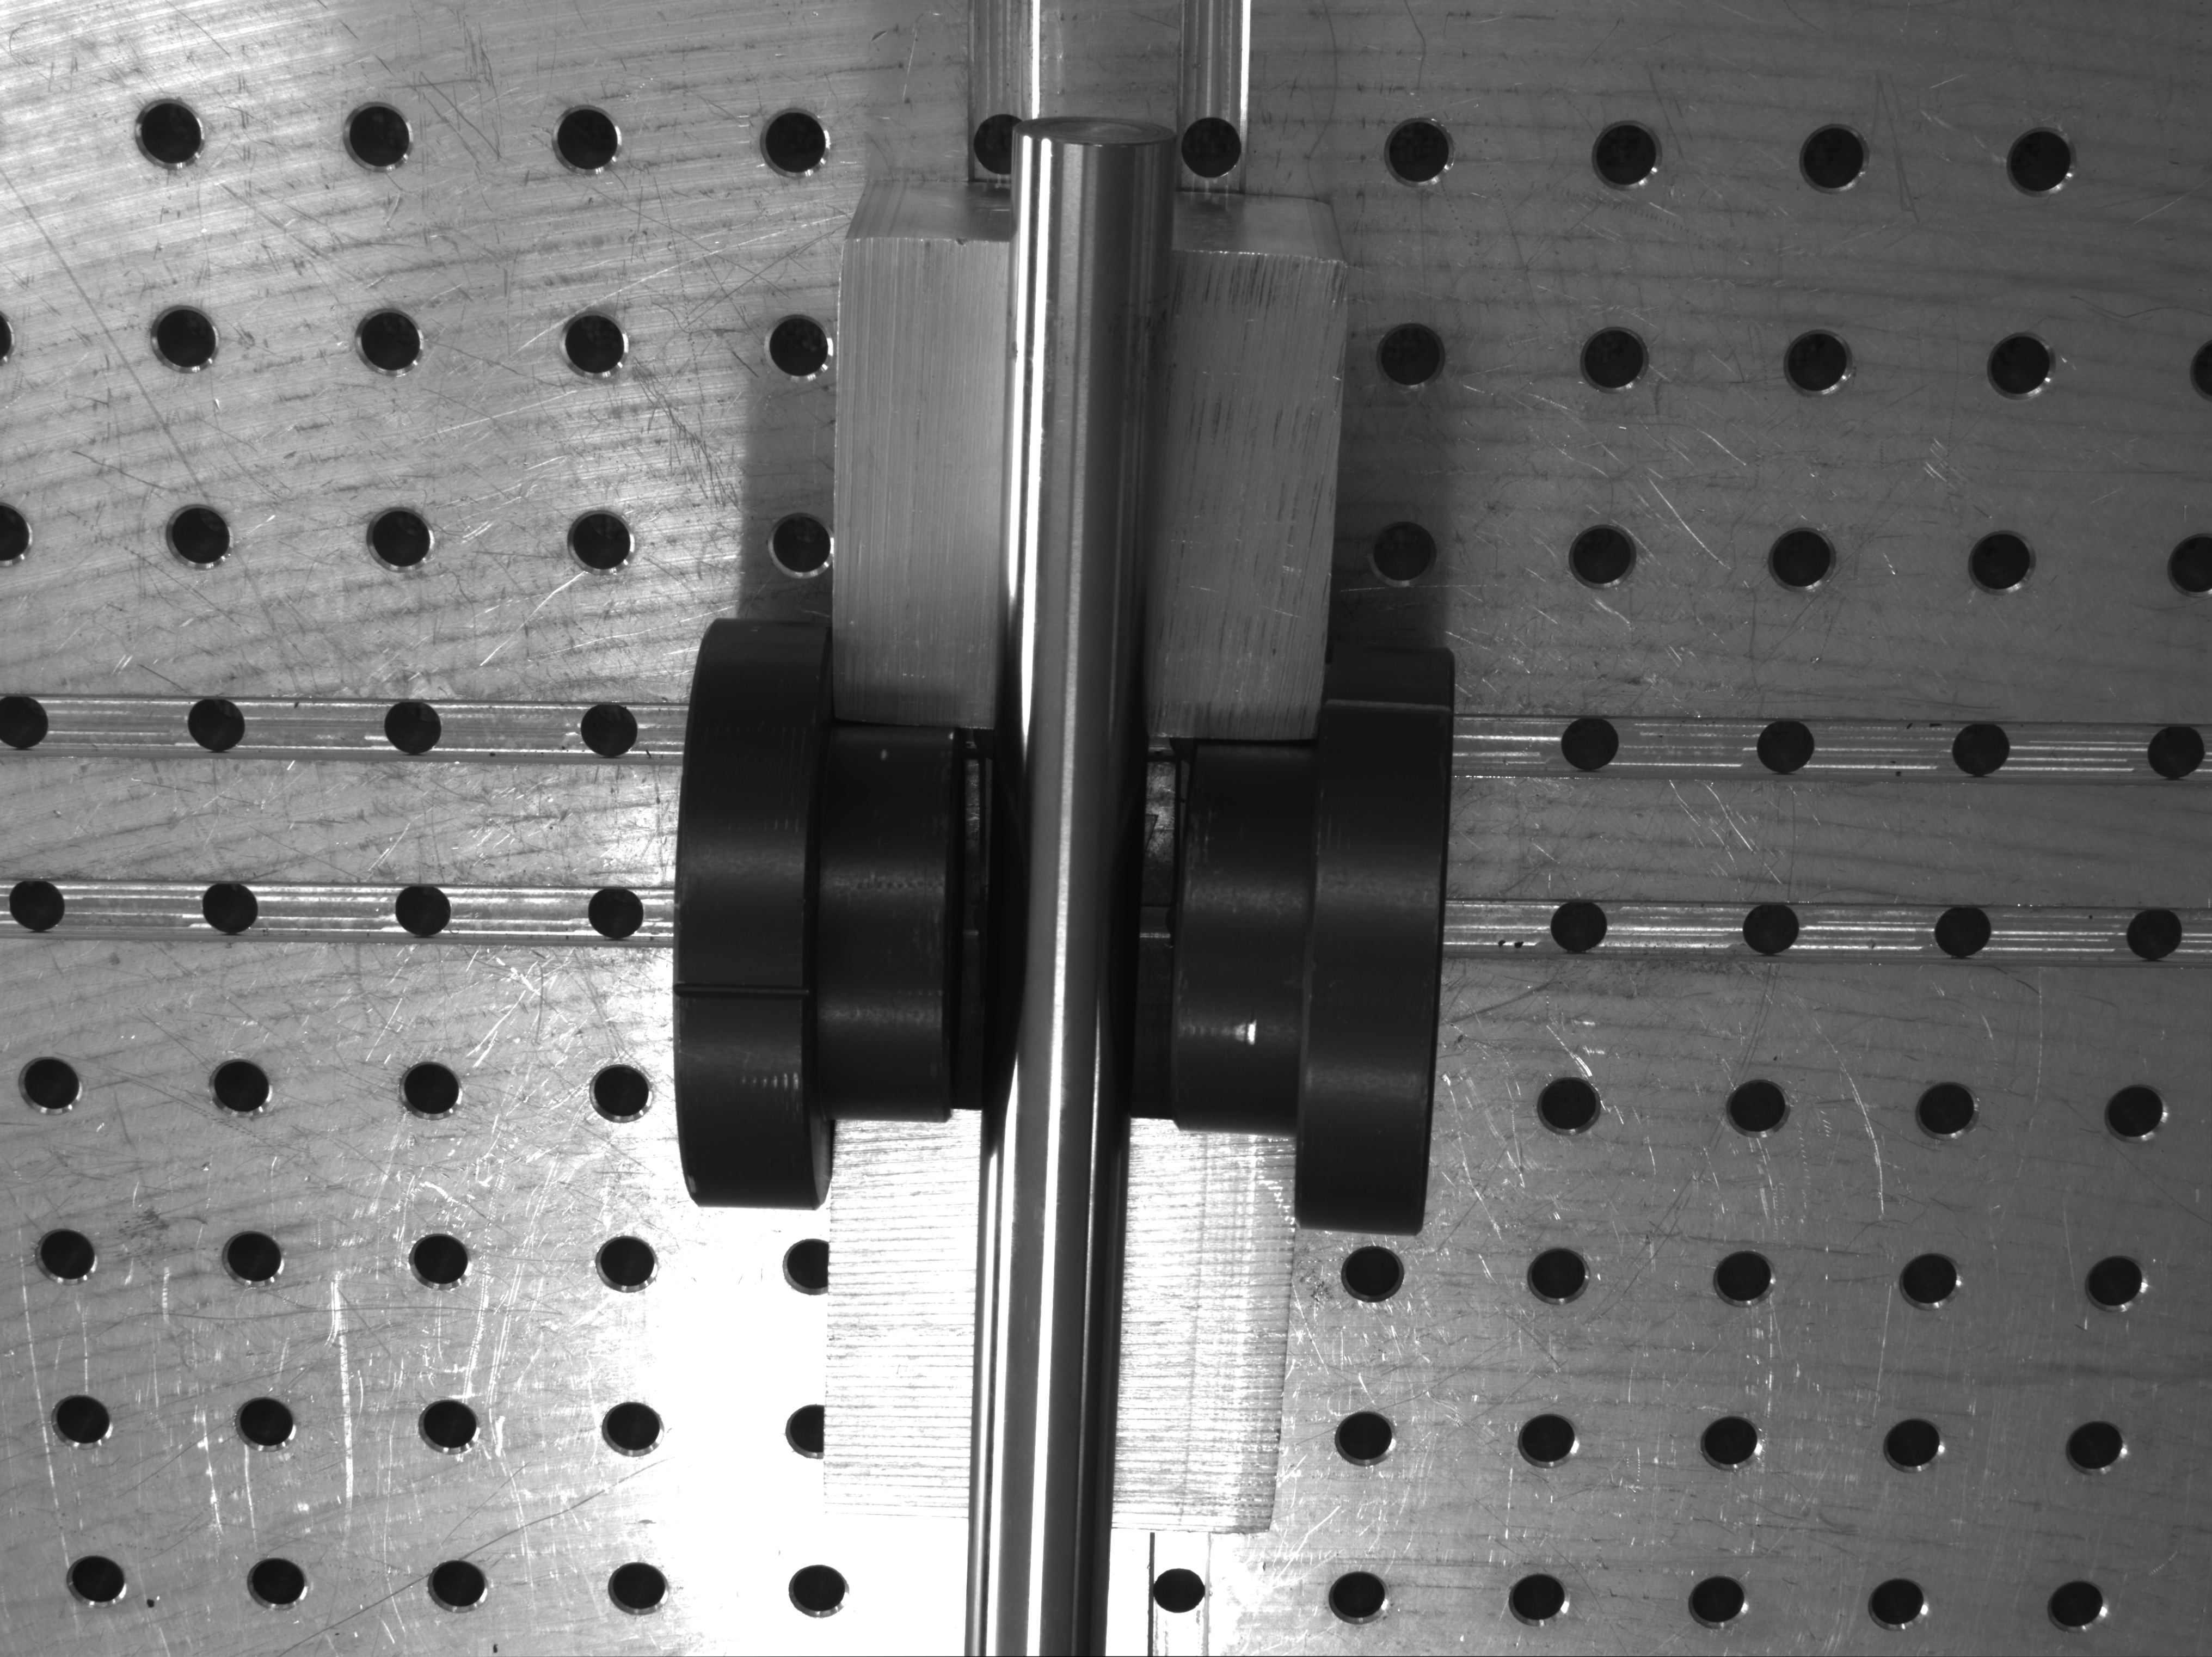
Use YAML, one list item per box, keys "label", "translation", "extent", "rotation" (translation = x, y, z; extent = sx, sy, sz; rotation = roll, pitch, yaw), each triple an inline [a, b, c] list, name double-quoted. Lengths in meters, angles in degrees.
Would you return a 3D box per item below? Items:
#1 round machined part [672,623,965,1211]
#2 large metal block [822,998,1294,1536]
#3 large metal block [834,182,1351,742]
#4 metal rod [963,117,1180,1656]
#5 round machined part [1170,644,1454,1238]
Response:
- label: "round machined part"
  translation: [-0.046, 0.015, 0.613]
  extent: [0.042, 0.098, 0.098]
  rotation: [2, 110, 0]
- label: "large metal block"
  translation: [-0.008, 0.078, 0.661]
  extent: [0.080, 0.050, 0.080]
  rotation: [3, 110, -1]
- label: "large metal block"
  translation: [-0.003, -0.062, 0.611]
  extent: [0.080, 0.050, 0.080]
  rotation: [2, 110, -1]
- label: "metal rod"
  translation: [-0.008, 0.035, 0.606]
  extent: [0.025, 0.025, 0.300]
  rotation: [2, 110, -1]
- label: "round machined part"
  translation: [0.034, 0.018, 0.614]
  extent: [0.042, 0.098, 0.098]
  rotation: [3, 110, 4]
